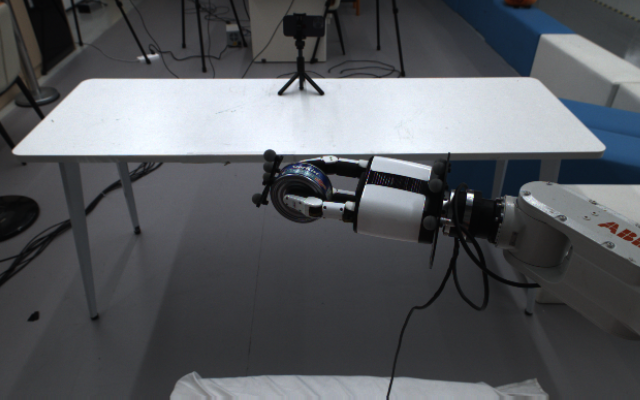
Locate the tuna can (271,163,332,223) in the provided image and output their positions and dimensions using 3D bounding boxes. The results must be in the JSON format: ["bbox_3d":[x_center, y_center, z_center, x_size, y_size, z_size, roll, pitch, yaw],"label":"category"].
[{"bbox_3d":[-0.025,-0.005,0.687,0.085,0.085,0.034,10,35,11],"label":"tuna can"}]
